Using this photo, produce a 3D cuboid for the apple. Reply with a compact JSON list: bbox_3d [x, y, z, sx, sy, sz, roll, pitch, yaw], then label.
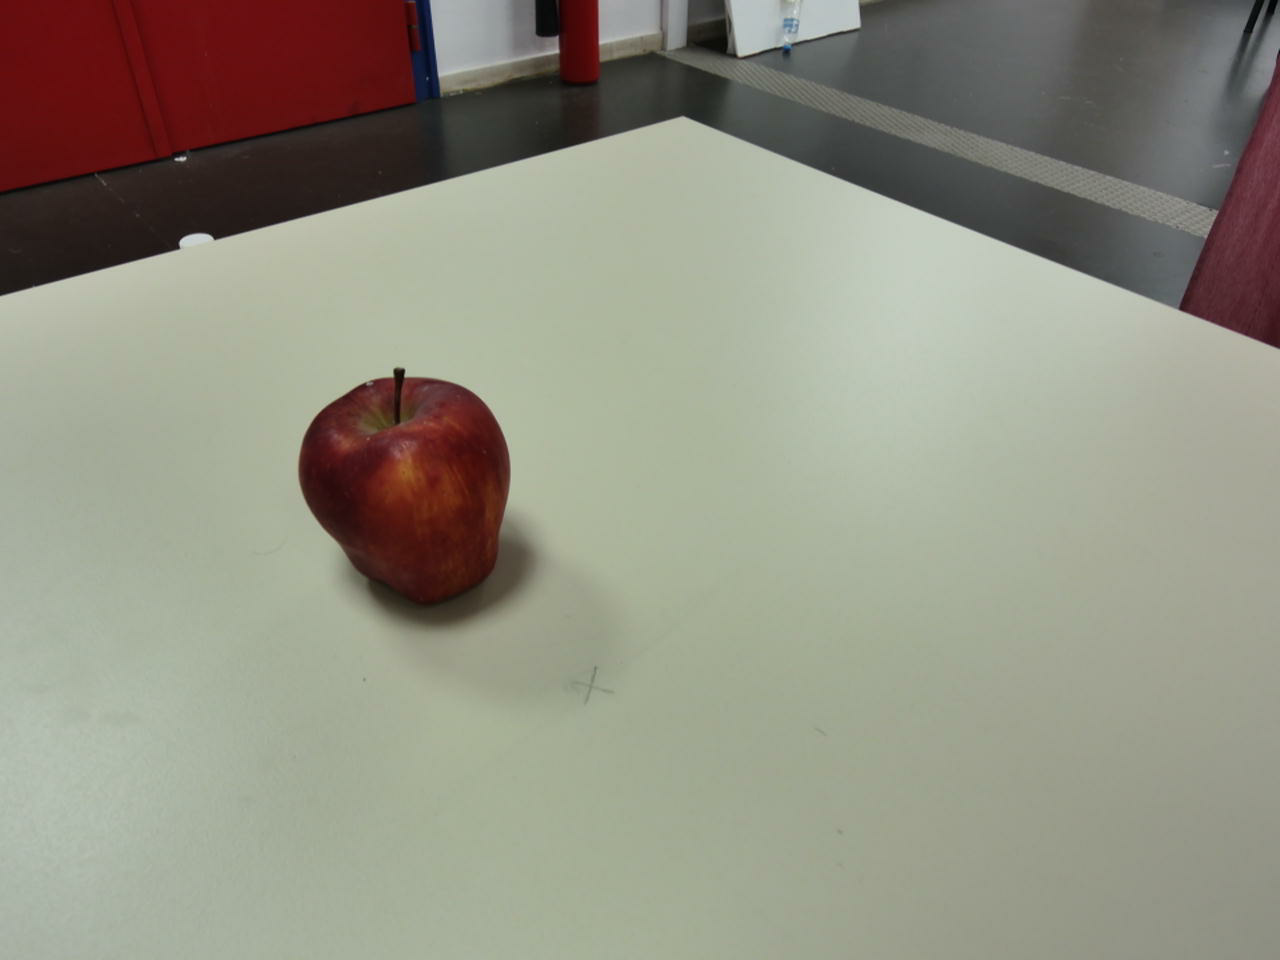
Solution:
[{"bbox_3d":[-0.089,-0.001,0.385,0.083,0.090,0.083,1,37,-1],"label":"apple"}]
